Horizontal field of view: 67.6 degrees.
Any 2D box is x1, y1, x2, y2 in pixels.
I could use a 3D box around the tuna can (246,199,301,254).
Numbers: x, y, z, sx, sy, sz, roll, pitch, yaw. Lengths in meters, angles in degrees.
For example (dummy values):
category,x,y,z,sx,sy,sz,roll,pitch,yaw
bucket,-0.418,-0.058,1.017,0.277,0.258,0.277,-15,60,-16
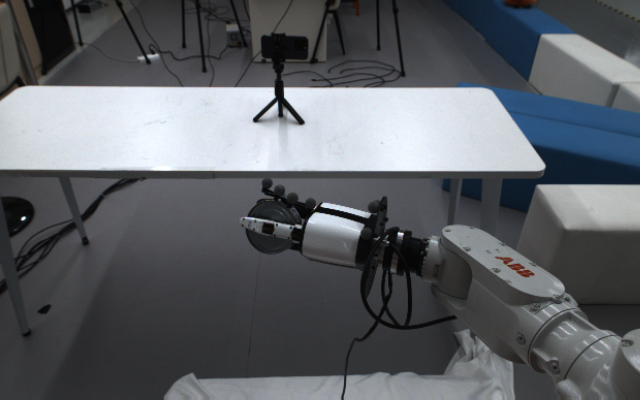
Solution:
category,x,y,z,sx,sy,sz,roll,pitch,yaw
tuna can,-0.071,0.042,0.768,0.085,0.085,0.034,13,3,16
